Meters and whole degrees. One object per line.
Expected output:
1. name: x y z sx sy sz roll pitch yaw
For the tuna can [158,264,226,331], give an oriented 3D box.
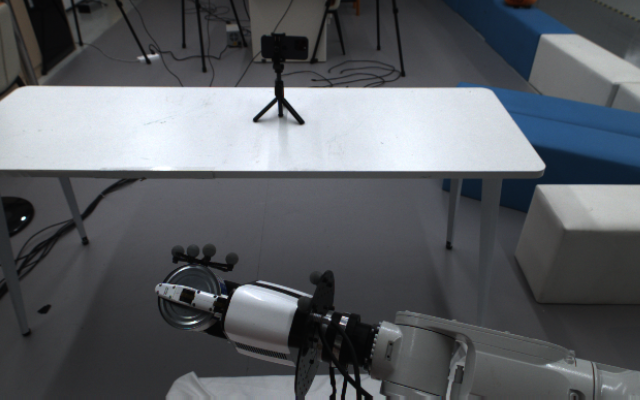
1. tuna can: -0.166 0.129 0.640 0.085 0.034 0.085 -3 68 8
